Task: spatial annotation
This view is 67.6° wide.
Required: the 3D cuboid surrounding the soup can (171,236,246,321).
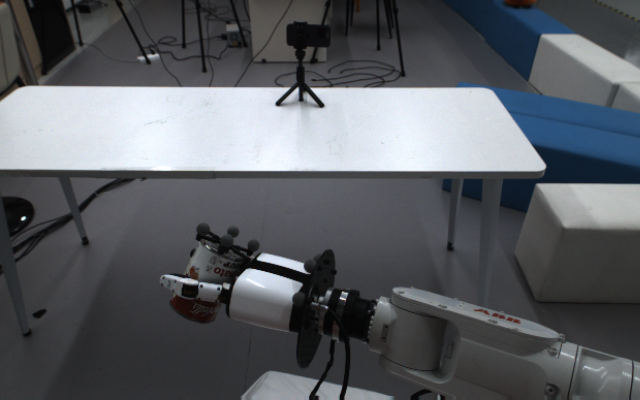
[{"bbox_3d":[-0.155,0.110,0.669,0.067,0.101,0.067,27,6,-3],"label":"soup can"}]
